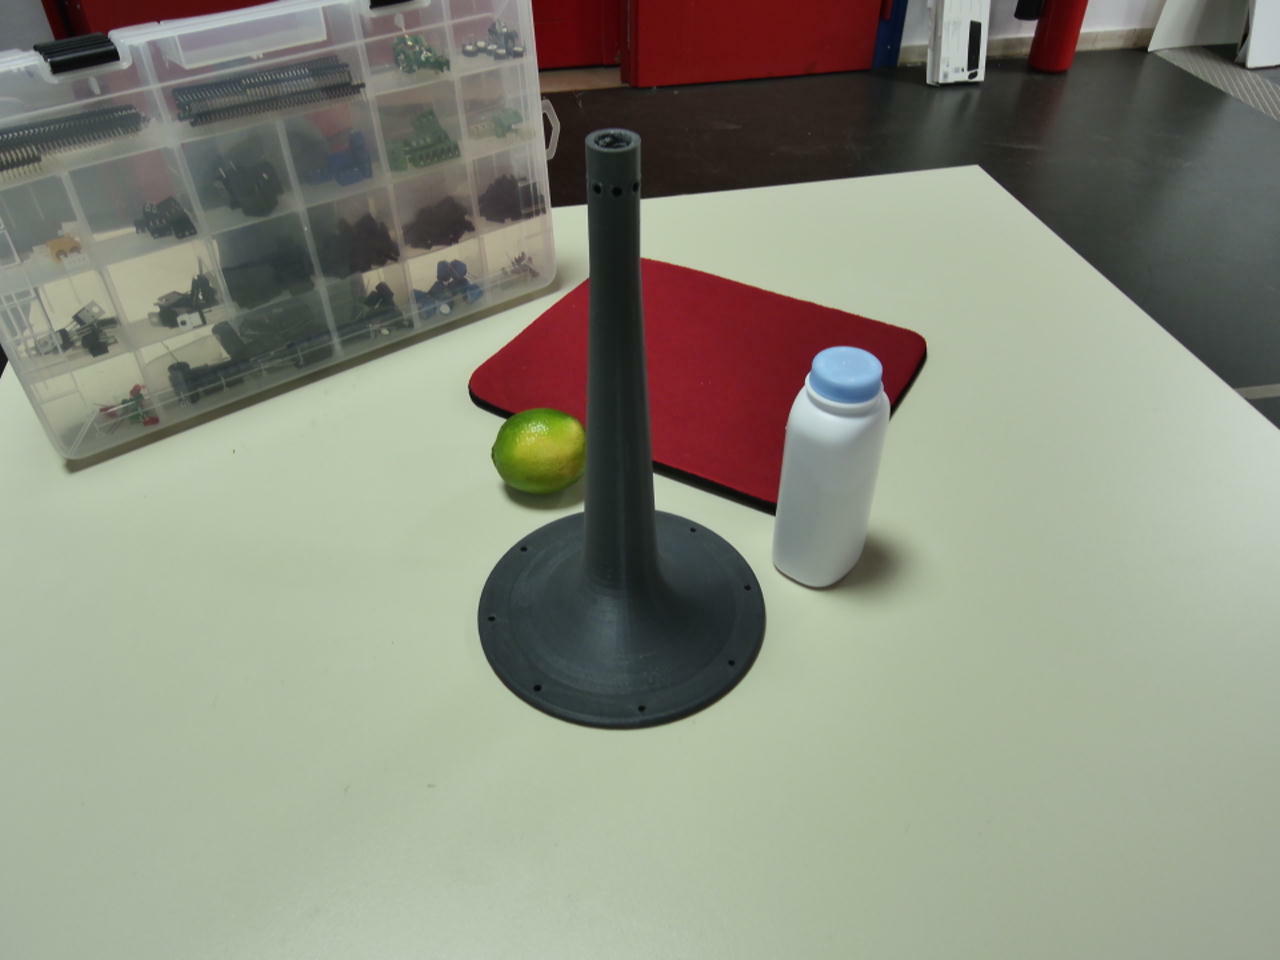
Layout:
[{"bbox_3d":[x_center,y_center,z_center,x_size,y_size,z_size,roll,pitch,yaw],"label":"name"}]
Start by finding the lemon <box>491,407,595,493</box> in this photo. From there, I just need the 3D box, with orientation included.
[{"bbox_3d":[-0.058,-0.018,0.594,0.055,0.050,0.054,27,45,28],"label":"lemon"}]
